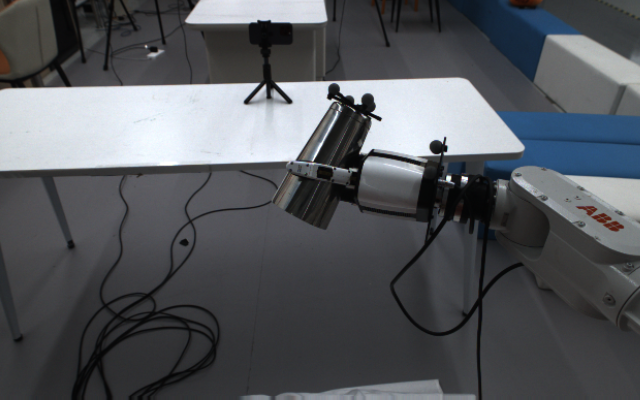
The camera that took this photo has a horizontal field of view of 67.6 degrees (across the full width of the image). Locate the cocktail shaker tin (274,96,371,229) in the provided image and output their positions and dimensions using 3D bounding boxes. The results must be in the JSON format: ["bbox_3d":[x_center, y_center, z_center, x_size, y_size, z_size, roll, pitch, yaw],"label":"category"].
[{"bbox_3d":[0.008,-0.057,0.711,0.093,0.170,0.093,27,2,-1],"label":"cocktail shaker tin"}]
